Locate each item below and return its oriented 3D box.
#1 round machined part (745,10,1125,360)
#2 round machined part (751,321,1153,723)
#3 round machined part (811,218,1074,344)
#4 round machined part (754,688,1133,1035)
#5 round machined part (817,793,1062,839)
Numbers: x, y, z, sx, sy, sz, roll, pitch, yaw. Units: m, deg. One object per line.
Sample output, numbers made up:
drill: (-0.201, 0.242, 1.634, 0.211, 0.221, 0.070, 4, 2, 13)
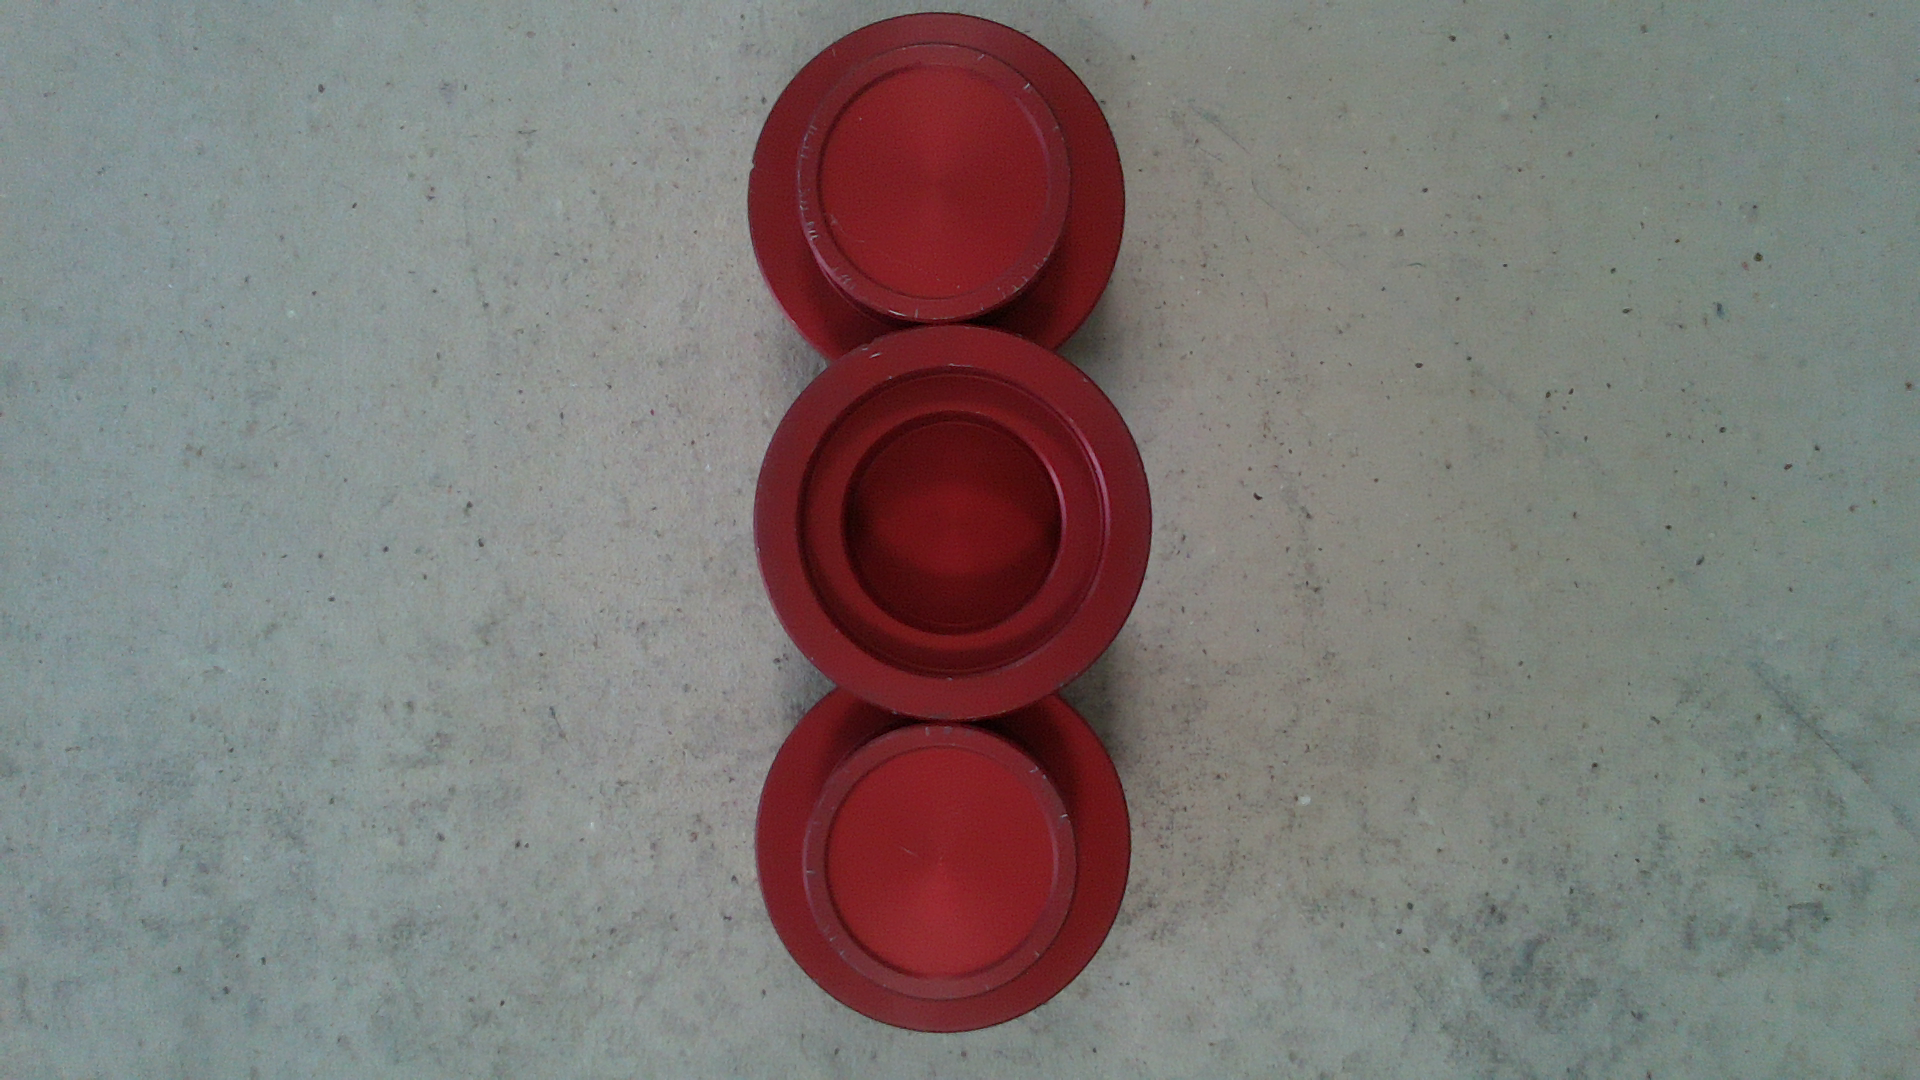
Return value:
round machined part: (-0.007, -0.088, 0.354, 0.098, 0.042, 0.098, 0, 91, 1)
round machined part: (-0.002, -0.004, 0.355, 0.098, 0.042, 0.098, 0, 90, 0)
round machined part: (-0.006, -0.090, 0.386, 0.098, 0.042, 0.098, 0, 91, 2)
round machined part: (-0.004, 0.079, 0.354, 0.098, 0.042, 0.098, 0, 91, 1)
round machined part: (-0.004, 0.081, 0.388, 0.098, 0.042, 0.098, 0, 89, 1)
